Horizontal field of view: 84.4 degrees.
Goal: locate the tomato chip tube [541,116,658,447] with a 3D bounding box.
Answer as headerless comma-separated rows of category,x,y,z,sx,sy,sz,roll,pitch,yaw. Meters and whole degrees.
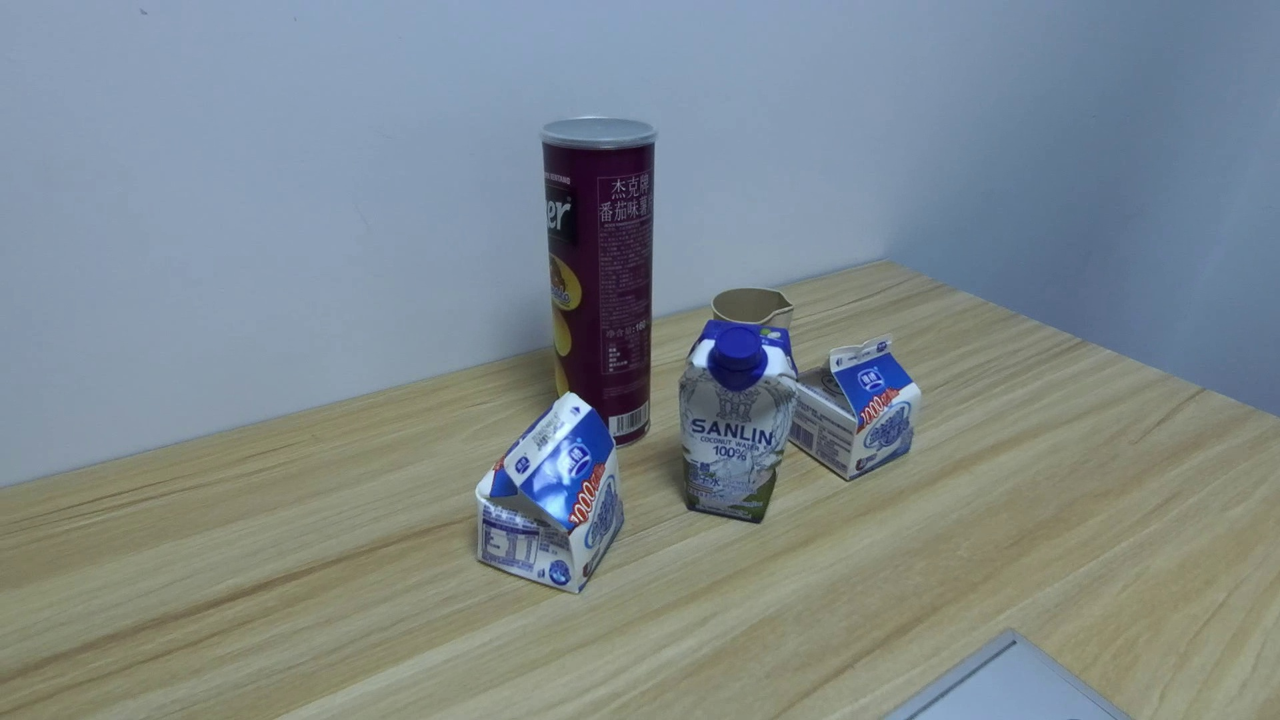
tomato chip tube,-0.026,-0.050,0.521,0.078,0.234,0.078,1,29,0

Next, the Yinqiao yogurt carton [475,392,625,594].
Yinqiao yogurt carton,-0.054,0.075,0.441,0.077,0.093,0.083,12,32,20

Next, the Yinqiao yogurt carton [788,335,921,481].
Yinqiao yogurt carton,0.164,0.026,0.538,0.076,0.092,0.073,-16,32,-30

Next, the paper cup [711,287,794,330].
paper cup,0.092,-0.011,0.598,0.069,0.081,0.073,-5,27,-9

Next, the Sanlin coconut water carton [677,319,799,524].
Sanlin coconut water carton,0.063,0.037,0.464,0.078,0.142,0.058,9,35,14
